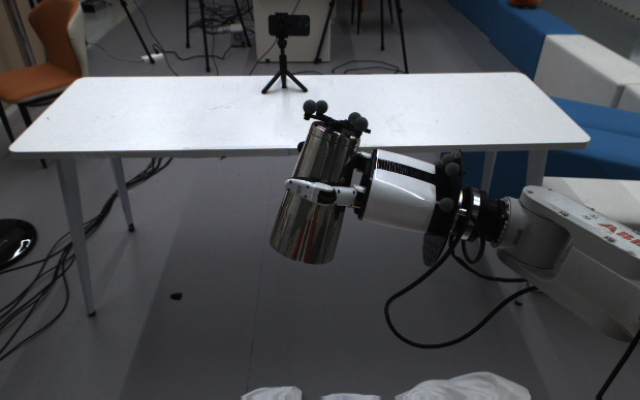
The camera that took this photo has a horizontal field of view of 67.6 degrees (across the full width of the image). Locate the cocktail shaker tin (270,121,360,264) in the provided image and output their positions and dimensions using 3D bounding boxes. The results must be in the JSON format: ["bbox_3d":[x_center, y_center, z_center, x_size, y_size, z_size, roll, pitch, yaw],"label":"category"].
[{"bbox_3d":[-0.002,-0.012,0.639,0.093,0.170,0.093,15,17,-5],"label":"cocktail shaker tin"}]
